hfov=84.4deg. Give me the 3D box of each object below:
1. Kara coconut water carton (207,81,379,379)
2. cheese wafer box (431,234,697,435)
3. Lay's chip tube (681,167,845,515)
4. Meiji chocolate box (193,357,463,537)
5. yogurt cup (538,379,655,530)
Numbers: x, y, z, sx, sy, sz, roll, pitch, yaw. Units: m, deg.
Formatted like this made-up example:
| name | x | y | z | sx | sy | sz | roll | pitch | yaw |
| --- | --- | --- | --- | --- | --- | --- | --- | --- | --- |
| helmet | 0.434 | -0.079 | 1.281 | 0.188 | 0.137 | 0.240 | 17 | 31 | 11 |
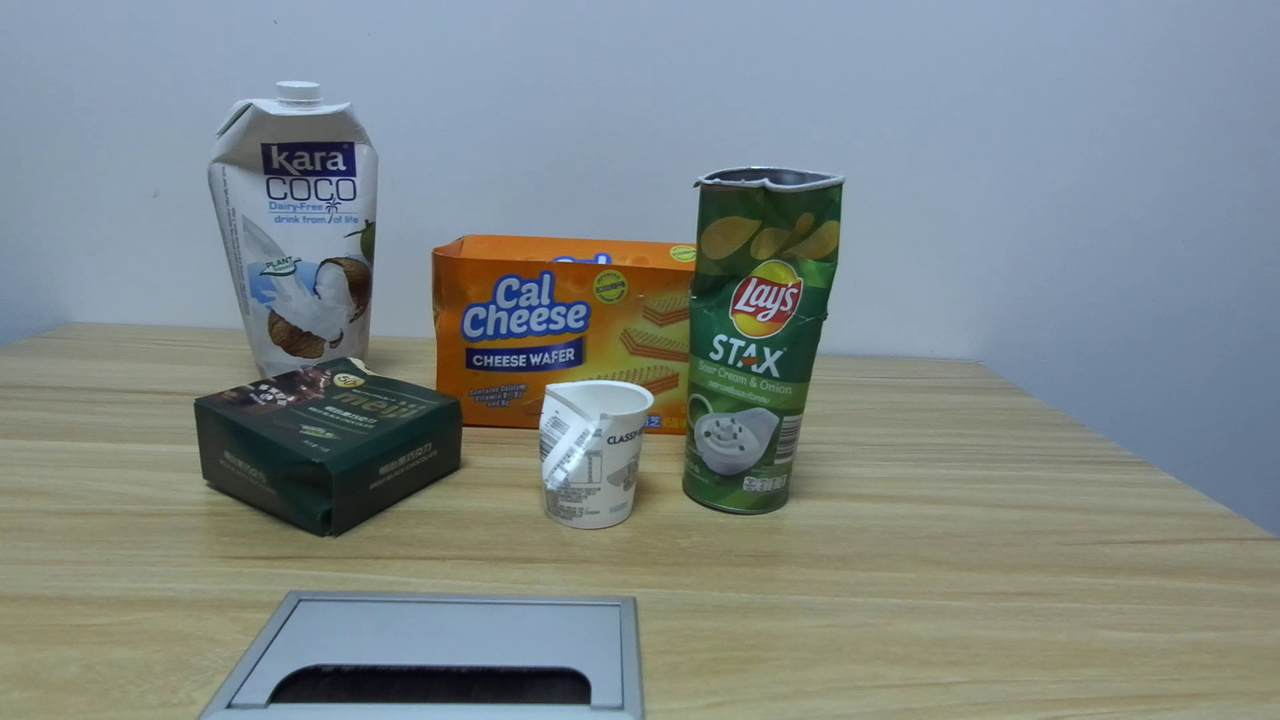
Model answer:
| name | x | y | z | sx | sy | sz | roll | pitch | yaw |
| --- | --- | --- | --- | --- | --- | --- | --- | --- | --- |
| Kara coconut water carton | -0.264 | -0.090 | 0.551 | 0.116 | 0.238 | 0.069 | -10 | 25 | -37 |
| cheese wafer box | -0.045 | -0.025 | 0.576 | 0.230 | 0.132 | 0.152 | 3 | 18 | -2 |
| Lay's chip tube | 0.068 | -0.011 | 0.425 | 0.077 | 0.201 | 0.069 | 1 | 16 | 0 |
| Meiji chocolate box | -0.183 | 0.049 | 0.429 | 0.115 | 0.058 | 0.123 | 15 | 20 | 24 |
| yogurt cup | -0.026 | 0.054 | 0.412 | 0.067 | 0.070 | 0.067 | 2 | 17 | 0 |
